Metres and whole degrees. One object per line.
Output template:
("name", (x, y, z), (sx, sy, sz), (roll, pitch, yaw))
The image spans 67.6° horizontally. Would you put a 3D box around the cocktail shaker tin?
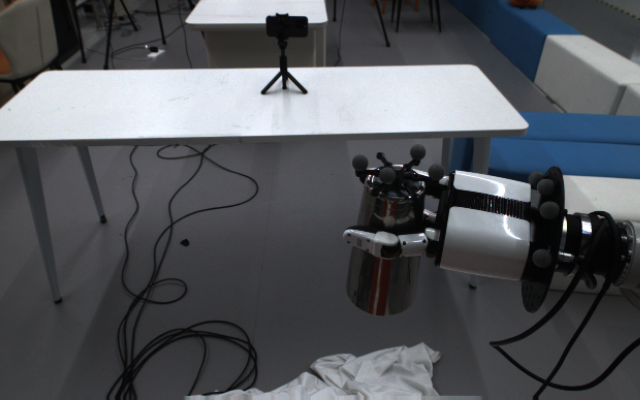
("cocktail shaker tin", (0.085, 0.044, 0.577), (0.093, 0.170, 0.093), (1, 39, -1))
